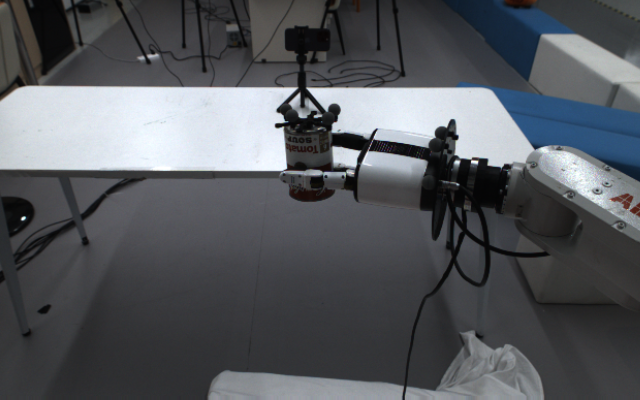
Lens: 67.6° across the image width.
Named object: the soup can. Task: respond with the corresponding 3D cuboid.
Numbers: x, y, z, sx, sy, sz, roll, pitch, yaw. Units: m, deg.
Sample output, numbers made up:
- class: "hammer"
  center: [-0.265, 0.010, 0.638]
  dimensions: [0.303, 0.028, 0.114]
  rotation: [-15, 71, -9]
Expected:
- class: "soup can"
  center: [-0.013, -0.058, 0.683]
  dimensions: [0.067, 0.101, 0.067]
  rotation: [-3, 27, 2]
